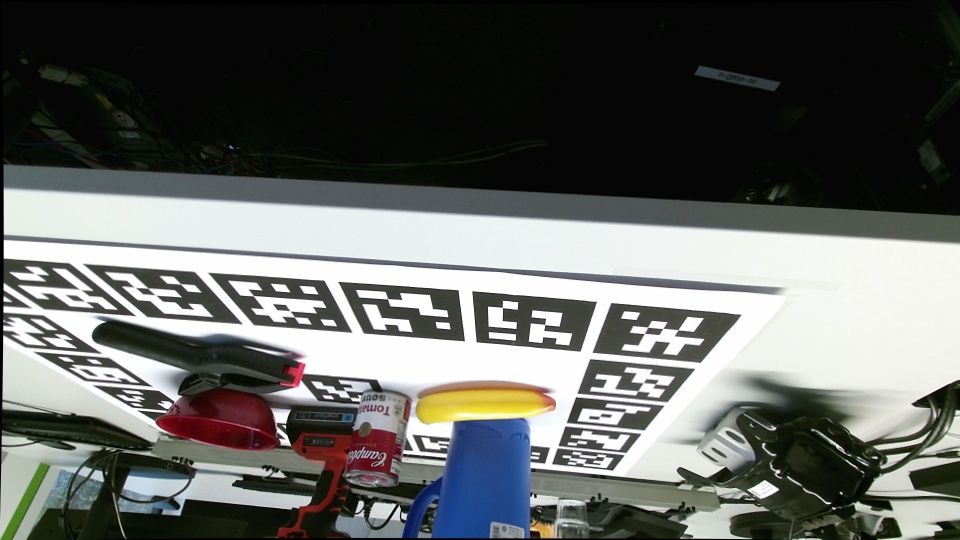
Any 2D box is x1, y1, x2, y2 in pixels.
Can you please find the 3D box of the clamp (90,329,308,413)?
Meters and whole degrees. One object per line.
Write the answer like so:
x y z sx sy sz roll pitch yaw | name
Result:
-0.293 0.122 0.596 0.203 0.036 0.165 2 141 5 | clamp

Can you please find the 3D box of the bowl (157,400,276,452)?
-0.351 0.212 0.727 0.162 0.055 0.162 4 143 3 | bowl

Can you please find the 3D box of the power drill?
-0.249 0.320 0.720 0.185 0.186 0.057 1 144 8 | power drill

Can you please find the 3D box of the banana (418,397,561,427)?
0.000 0.174 0.639 0.198 0.038 0.074 -11 150 25 | banana

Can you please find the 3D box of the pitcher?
-0.011 0.323 0.672 0.189 0.241 0.134 -11 144 23 | pitcher

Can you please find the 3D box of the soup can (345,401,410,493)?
-0.126 0.221 0.669 0.068 0.101 0.068 4 153 2 | soup can
